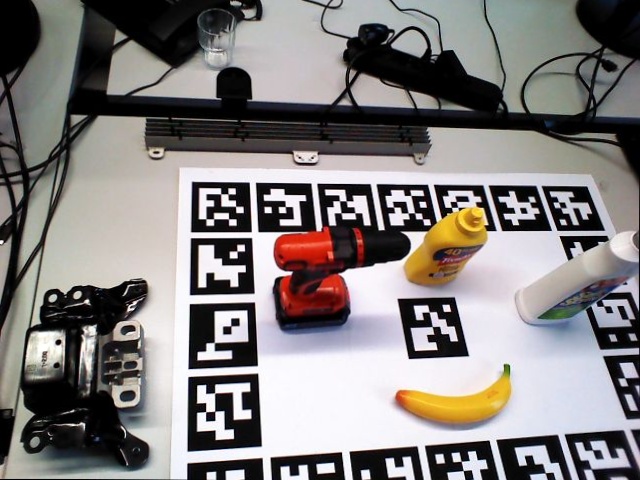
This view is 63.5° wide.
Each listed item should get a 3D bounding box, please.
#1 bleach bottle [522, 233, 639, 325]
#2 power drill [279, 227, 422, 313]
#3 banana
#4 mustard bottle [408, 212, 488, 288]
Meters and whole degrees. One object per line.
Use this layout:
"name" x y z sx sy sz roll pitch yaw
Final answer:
"bleach bottle" 0.410 0.055 0.769 0.103 0.252 0.067 8 61 -6
"power drill" 0.033 0.039 0.716 0.184 0.188 0.057 -6 64 -9
"banana" 0.214 0.231 0.755 0.197 0.039 0.074 -6 65 -9
"mustard bottle" 0.211 0.012 0.795 0.096 0.192 0.058 -6 64 -15
